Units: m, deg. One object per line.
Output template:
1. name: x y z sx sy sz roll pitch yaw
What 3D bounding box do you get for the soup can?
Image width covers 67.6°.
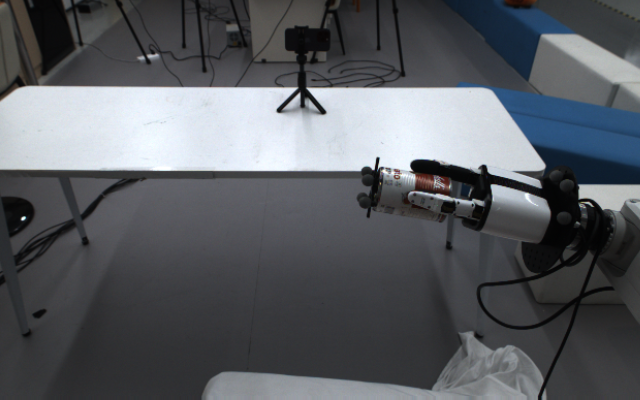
1. soup can: 0.134 -0.009 0.703 0.101 0.067 0.067 9 35 0
